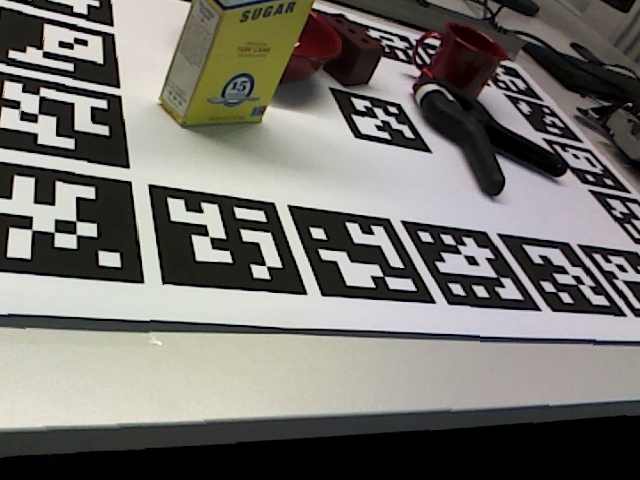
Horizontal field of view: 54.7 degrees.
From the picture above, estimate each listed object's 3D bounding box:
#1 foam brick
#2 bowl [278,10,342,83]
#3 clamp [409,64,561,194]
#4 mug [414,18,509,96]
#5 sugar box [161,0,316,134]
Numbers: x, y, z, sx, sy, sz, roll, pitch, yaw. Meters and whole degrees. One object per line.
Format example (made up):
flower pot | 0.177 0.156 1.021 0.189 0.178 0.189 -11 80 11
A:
foam brick | 0.032 -0.226 0.758 0.052 0.051 0.078 -22 61 -44
bowl | -0.059 -0.222 0.681 0.161 0.055 0.162 18 39 -16
clamp | 0.182 -0.143 0.753 0.164 0.037 0.204 -18 58 -41
mug | 0.183 -0.245 0.839 0.117 0.081 0.093 26 38 -10
sugar box | -0.064 -0.173 0.525 0.092 0.176 0.045 -18 60 -45
